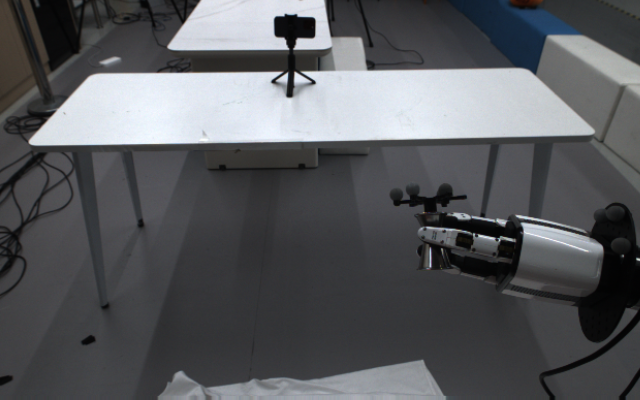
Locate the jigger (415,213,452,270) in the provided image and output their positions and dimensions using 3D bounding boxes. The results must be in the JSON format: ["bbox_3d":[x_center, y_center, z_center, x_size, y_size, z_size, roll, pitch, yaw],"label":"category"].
[{"bbox_3d":[0.137,0.049,0.589,0.043,0.071,0.043,-2,-7,0],"label":"jigger"}]
